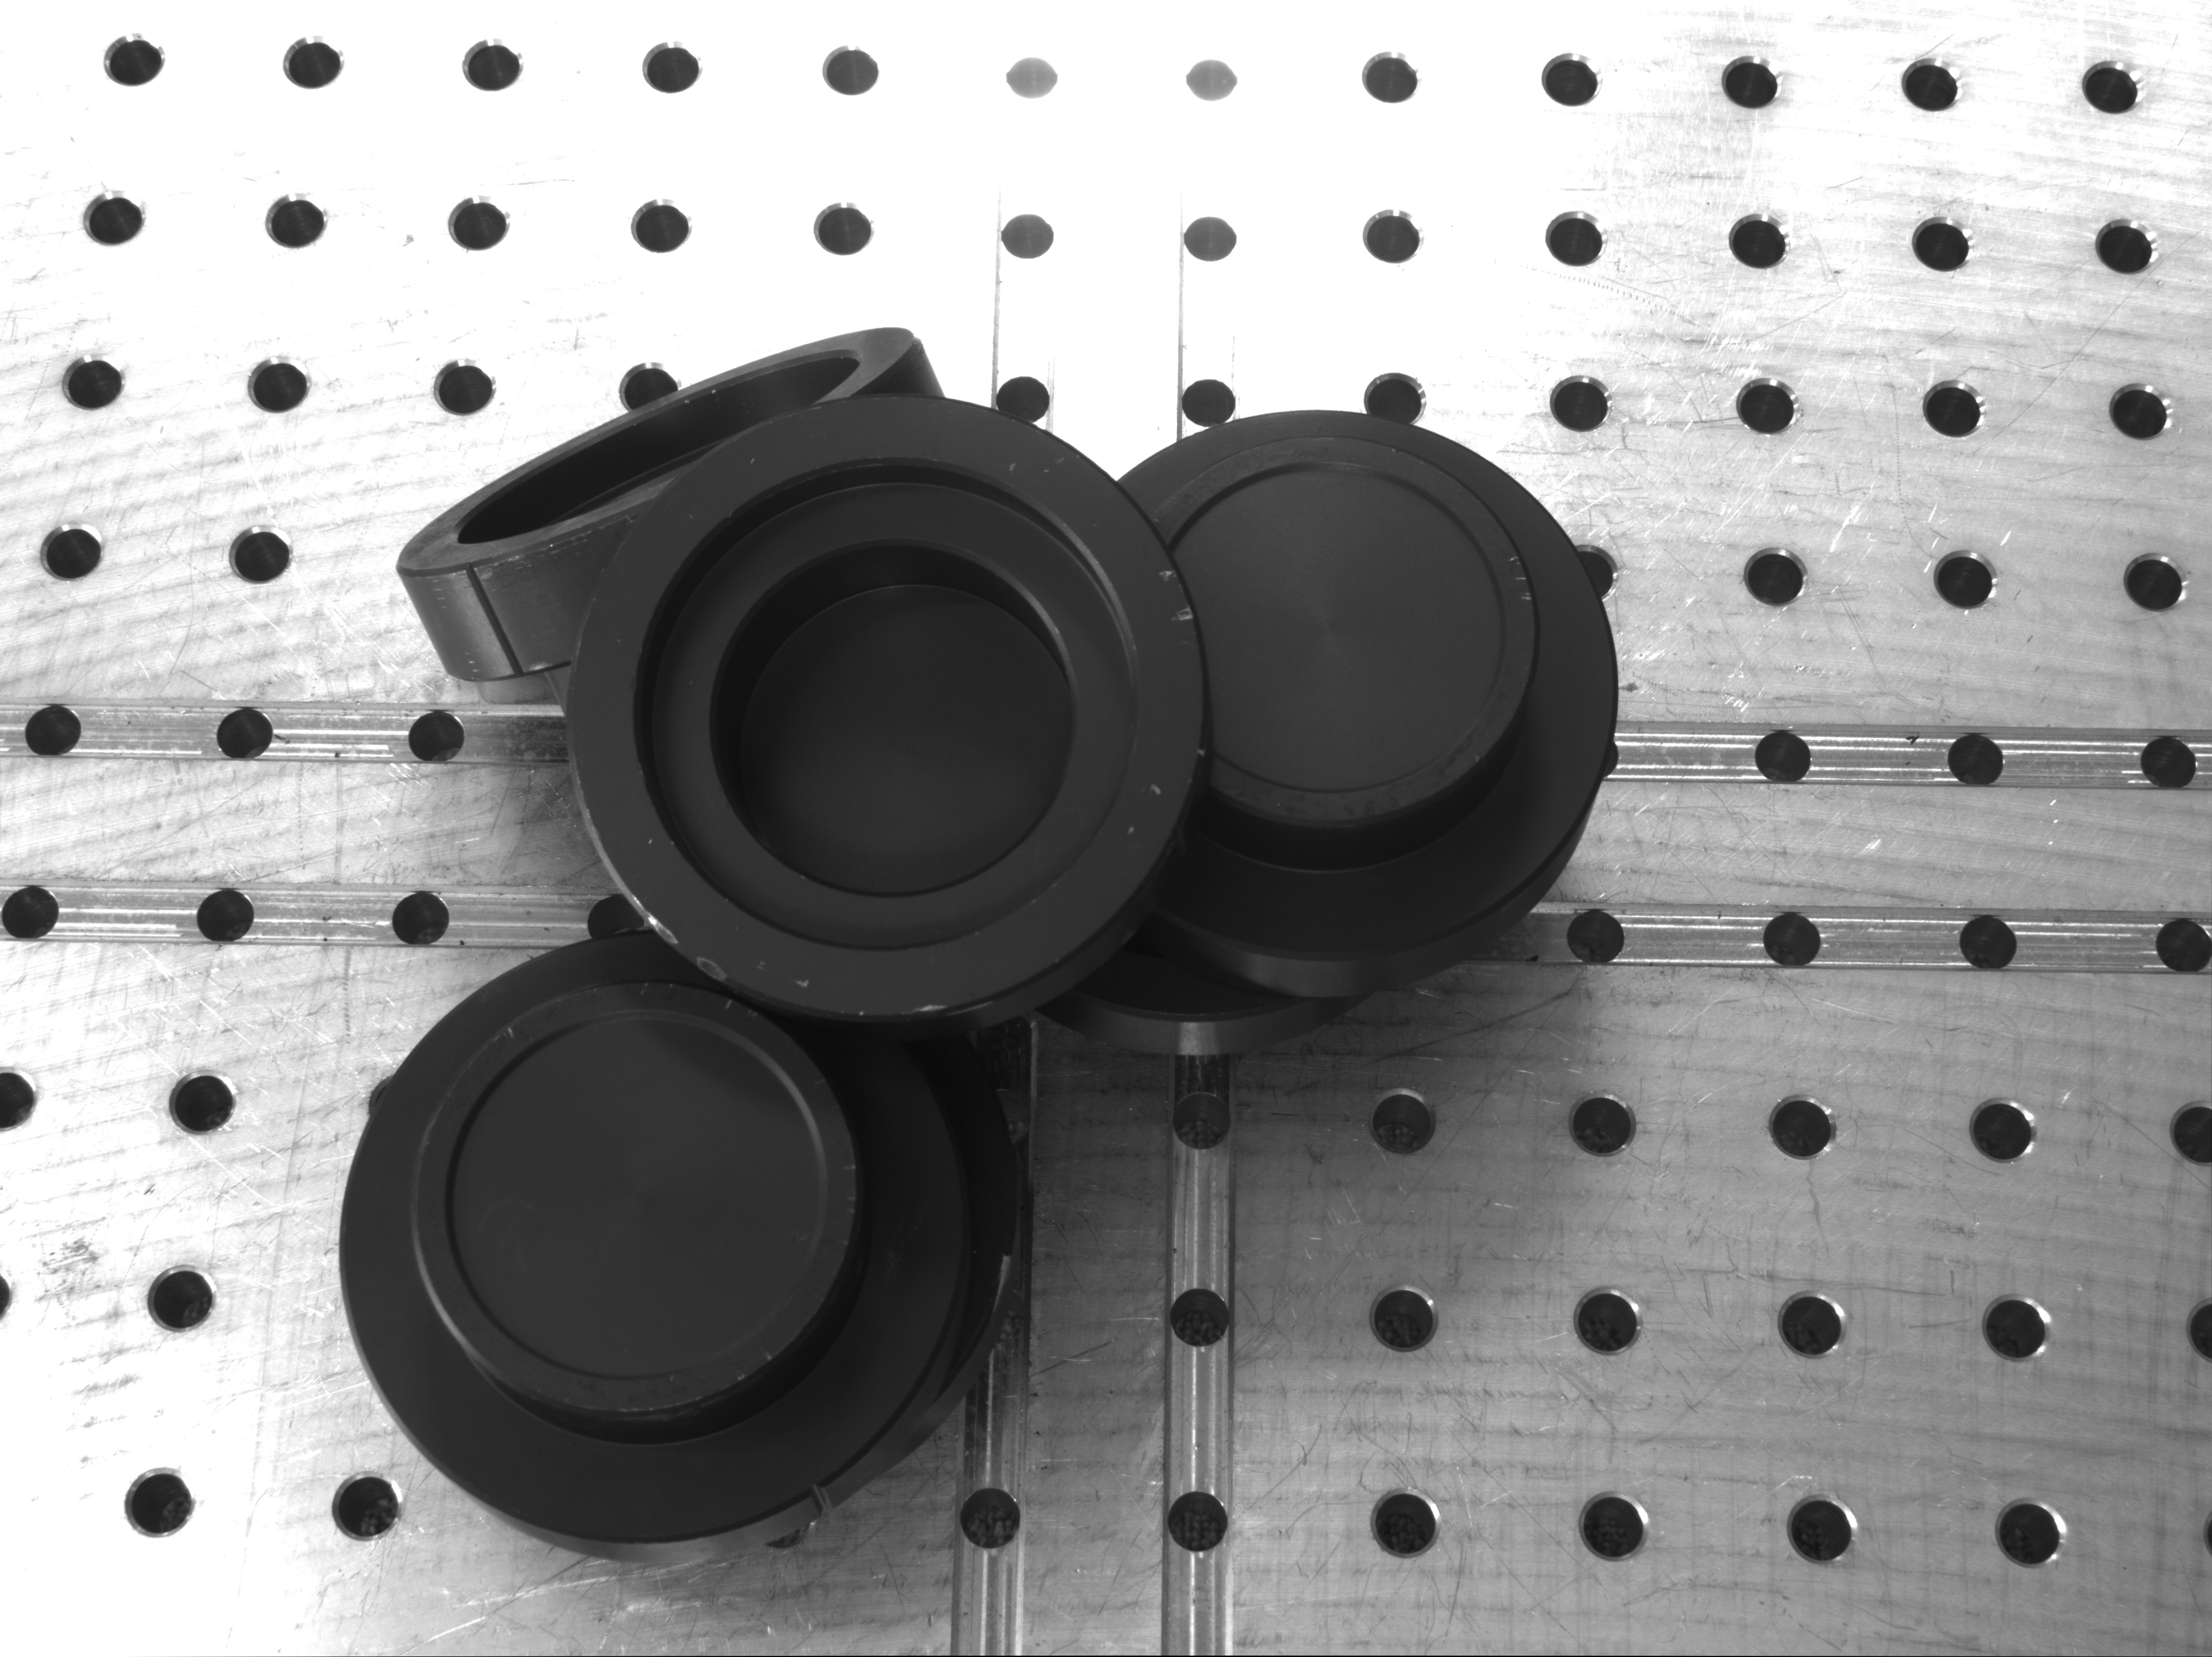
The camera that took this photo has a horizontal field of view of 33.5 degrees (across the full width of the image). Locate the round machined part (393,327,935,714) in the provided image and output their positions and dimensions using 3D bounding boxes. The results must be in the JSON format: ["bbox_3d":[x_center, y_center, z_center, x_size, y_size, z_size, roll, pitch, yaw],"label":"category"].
[{"bbox_3d":[-0.070,-0.048,0.636,0.098,0.098,0.042,-26,107,-9],"label":"round machined part"}]

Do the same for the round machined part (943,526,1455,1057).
[{"bbox_3d":[0.013,-0.014,0.622,0.098,0.042,0.098,0,70,0],"label":"round machined part"}]

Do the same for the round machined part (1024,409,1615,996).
[{"bbox_3d":[0.035,-0.025,0.602,0.098,0.042,0.098,0,69,0],"label":"round machined part"}]

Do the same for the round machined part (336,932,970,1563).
[{"bbox_3d":[-0.071,0.062,0.571,0.098,0.042,0.098,0,70,0],"label":"round machined part"}]

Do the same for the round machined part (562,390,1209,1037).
[{"bbox_3d":[-0.033,-0.016,0.576,0.098,0.042,0.098,-1,78,3],"label":"round machined part"}]

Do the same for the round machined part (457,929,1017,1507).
[{"bbox_3d":[-0.063,0.060,0.595,0.098,0.042,0.098,0,70,0],"label":"round machined part"}]
